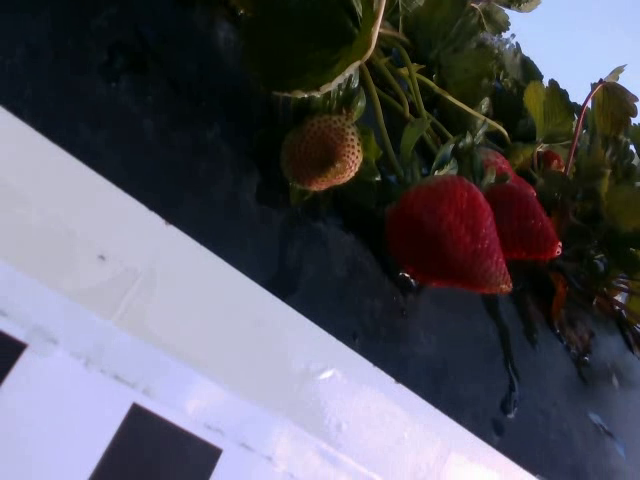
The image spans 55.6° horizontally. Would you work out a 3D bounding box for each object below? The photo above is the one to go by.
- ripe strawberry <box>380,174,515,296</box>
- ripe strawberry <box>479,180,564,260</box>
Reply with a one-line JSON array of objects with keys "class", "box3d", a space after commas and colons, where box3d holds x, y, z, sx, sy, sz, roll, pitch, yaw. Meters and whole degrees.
[{"class": "ripe strawberry", "box3d": [0.055, 0.000, 0.238, 0.050, 0.050, 0.065, -6, 32, -29]}, {"class": "ripe strawberry", "box3d": [0.100, -0.004, 0.311, 0.044, 0.042, 0.055, -32, 50, -28]}]
